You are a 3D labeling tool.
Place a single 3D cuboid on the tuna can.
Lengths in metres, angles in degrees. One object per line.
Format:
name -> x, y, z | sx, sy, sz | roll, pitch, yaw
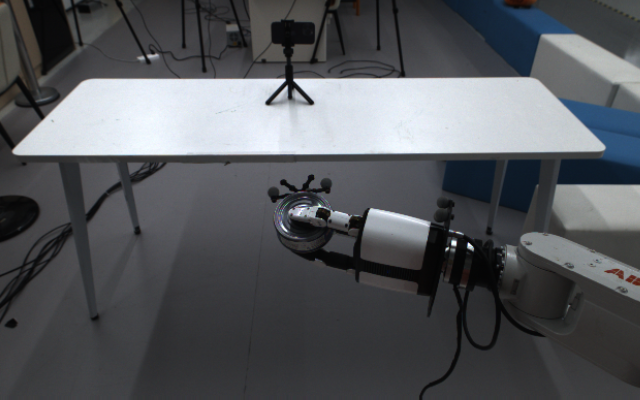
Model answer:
tuna can -> -0.021, 0.030, 0.690 | 0.085, 0.034, 0.085 | -3, 60, 5
